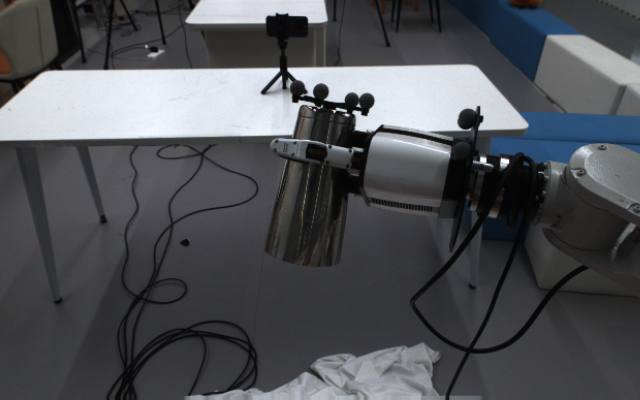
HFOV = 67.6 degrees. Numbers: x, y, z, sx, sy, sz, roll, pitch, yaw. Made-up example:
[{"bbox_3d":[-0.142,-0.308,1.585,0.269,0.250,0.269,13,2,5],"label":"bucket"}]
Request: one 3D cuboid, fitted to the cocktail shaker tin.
[{"bbox_3d":[-0.002,-0.021,0.563,0.093,0.170,0.093,10,9,-2],"label":"cocktail shaker tin"}]
